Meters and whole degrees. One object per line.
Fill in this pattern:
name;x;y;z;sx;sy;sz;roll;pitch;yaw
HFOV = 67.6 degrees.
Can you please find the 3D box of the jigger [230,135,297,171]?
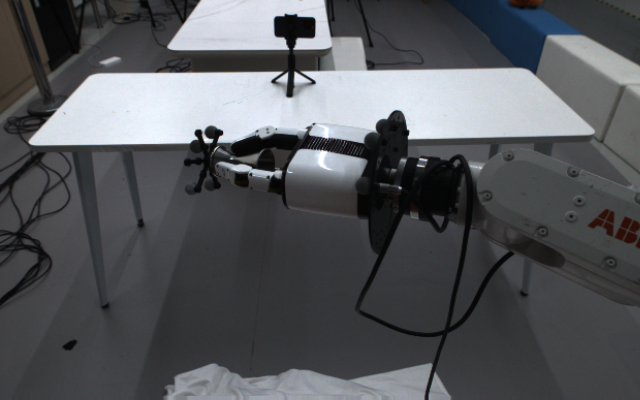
jigger;-0.090;-0.047;0.596;0.071;0.043;0.043;7;34;23
